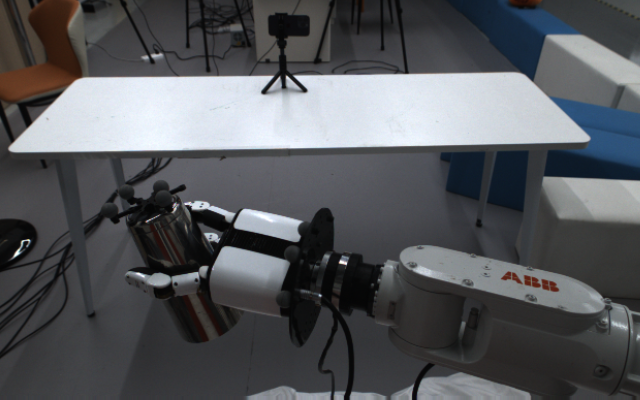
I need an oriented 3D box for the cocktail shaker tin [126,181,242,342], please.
[{"bbox_3d":[-0.165,0.082,0.587,0.093,0.170,0.093,-15,28,8],"label":"cocktail shaker tin"}]
